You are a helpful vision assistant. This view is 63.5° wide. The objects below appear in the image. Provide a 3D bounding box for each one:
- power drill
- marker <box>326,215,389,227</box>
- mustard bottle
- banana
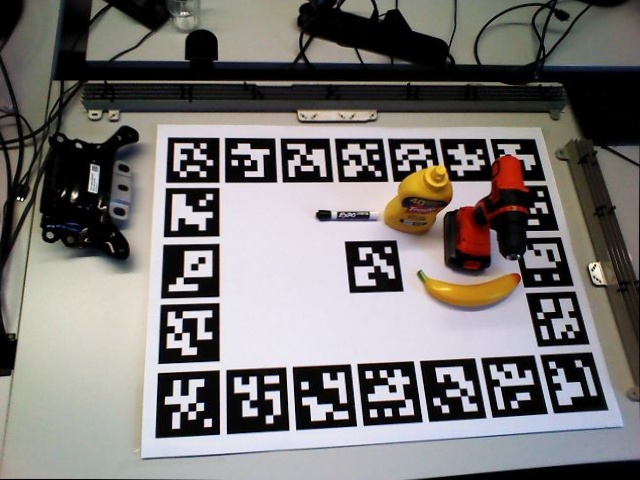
[{"bbox_3d":[0.318,-0.004,0.910,0.057,0.188,0.183,13,66,-4],"label":"power drill"},{"bbox_3d":[0.072,-0.037,1.004,0.121,0.020,0.019,2,70,-6],"label":"marker"},{"bbox_3d":[0.209,-0.059,0.936,0.096,0.192,0.058,11,68,-4],"label":"mustard bottle"},{"bbox_3d":[0.300,0.112,0.968,0.197,0.039,0.074,7,70,-2],"label":"banana"}]
